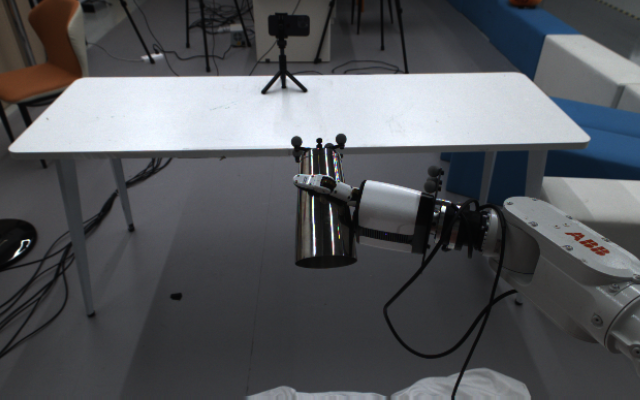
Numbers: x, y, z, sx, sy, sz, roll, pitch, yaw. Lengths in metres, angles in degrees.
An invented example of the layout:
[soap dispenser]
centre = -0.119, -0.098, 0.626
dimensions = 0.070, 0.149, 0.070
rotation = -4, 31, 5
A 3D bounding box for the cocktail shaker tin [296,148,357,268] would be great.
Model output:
[cocktail shaker tin]
centre = 0.003, 0.011, 0.733
dimensions = 0.093, 0.093, 0.170
rotation = -2, 70, -5
